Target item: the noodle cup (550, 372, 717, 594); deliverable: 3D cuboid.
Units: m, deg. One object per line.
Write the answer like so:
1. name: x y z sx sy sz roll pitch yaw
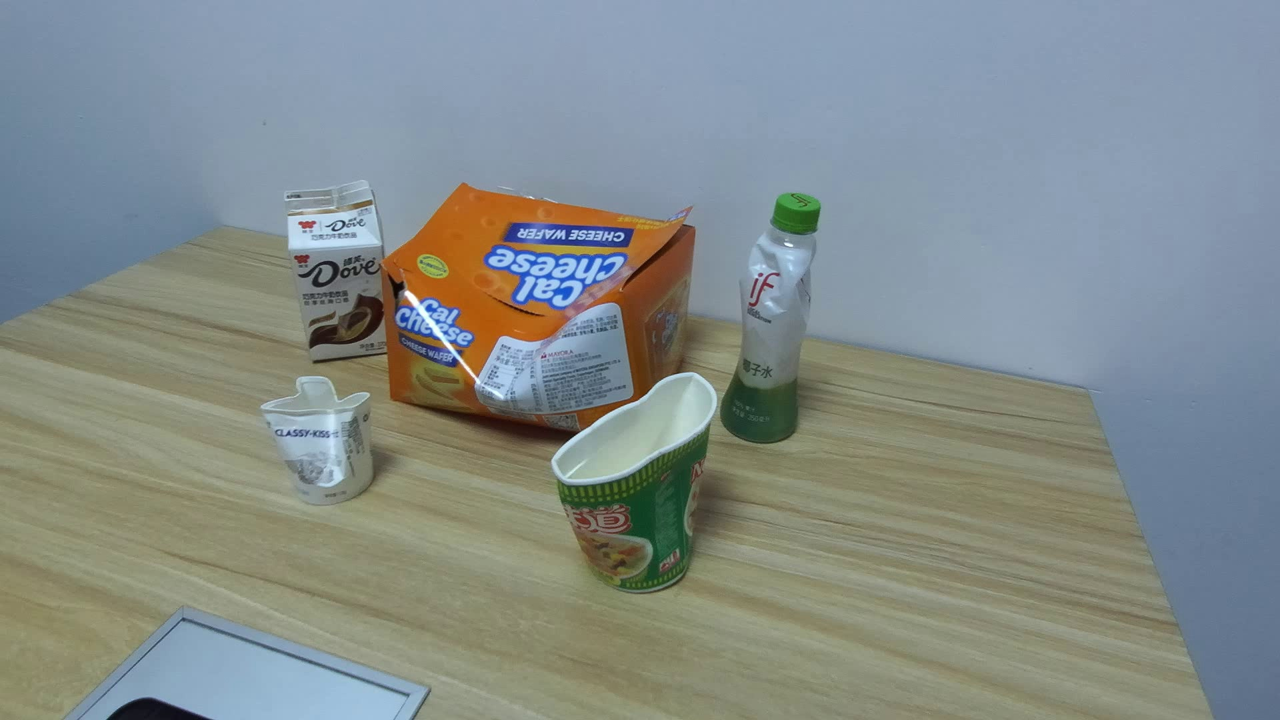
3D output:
1. noodle cup: -0.001 0.079 0.425 0.115 0.111 0.070 -14 38 -24

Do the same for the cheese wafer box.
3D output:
1. cheese wafer box: -0.081 -0.040 0.572 0.218 0.145 0.191 10 34 11

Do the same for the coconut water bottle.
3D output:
1. coconut water bottle: 0.102 -0.029 0.526 0.067 0.187 0.067 3 32 -2

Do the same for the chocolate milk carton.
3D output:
1. chocolate milk carton: -0.262 -0.082 0.620 0.075 0.148 0.074 -8 34 -19

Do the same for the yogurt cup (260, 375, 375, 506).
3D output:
1. yogurt cup: -0.212 0.053 0.482 0.054 0.072 0.055 16 33 19
